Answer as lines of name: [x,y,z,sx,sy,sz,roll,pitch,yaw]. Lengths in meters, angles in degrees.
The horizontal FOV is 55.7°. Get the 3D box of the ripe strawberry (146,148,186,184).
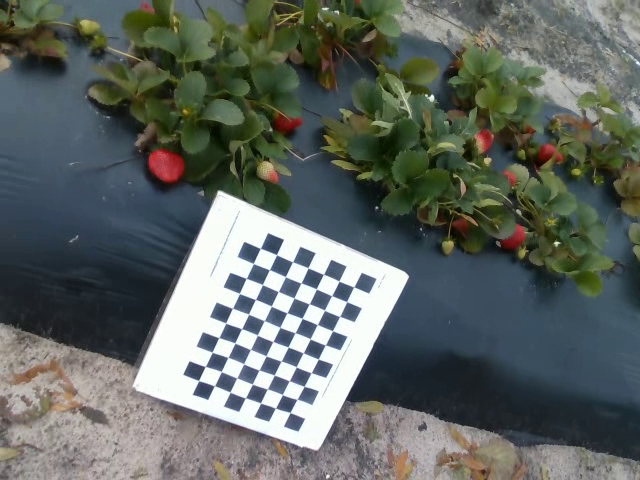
ripe strawberry: [-0.156,-0.077,0.614,0.037,0.046,0.037,-20,-35,1]
